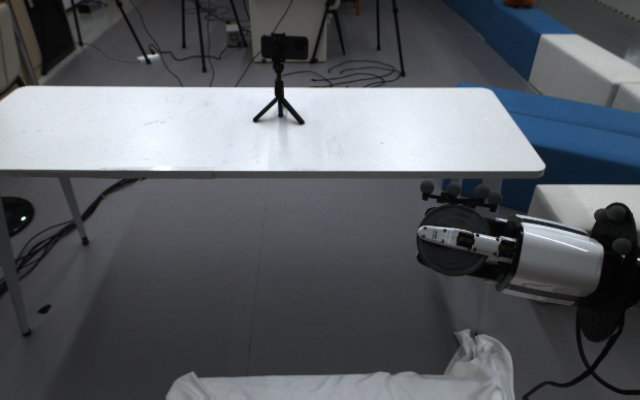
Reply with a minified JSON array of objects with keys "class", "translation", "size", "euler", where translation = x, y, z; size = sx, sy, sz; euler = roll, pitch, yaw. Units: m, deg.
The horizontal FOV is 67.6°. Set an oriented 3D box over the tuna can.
[{"class":"tuna can","translation":[0.161,0.043,0.581],"size":[0.085,0.085,0.034],"euler":[10,-6,11]}]
